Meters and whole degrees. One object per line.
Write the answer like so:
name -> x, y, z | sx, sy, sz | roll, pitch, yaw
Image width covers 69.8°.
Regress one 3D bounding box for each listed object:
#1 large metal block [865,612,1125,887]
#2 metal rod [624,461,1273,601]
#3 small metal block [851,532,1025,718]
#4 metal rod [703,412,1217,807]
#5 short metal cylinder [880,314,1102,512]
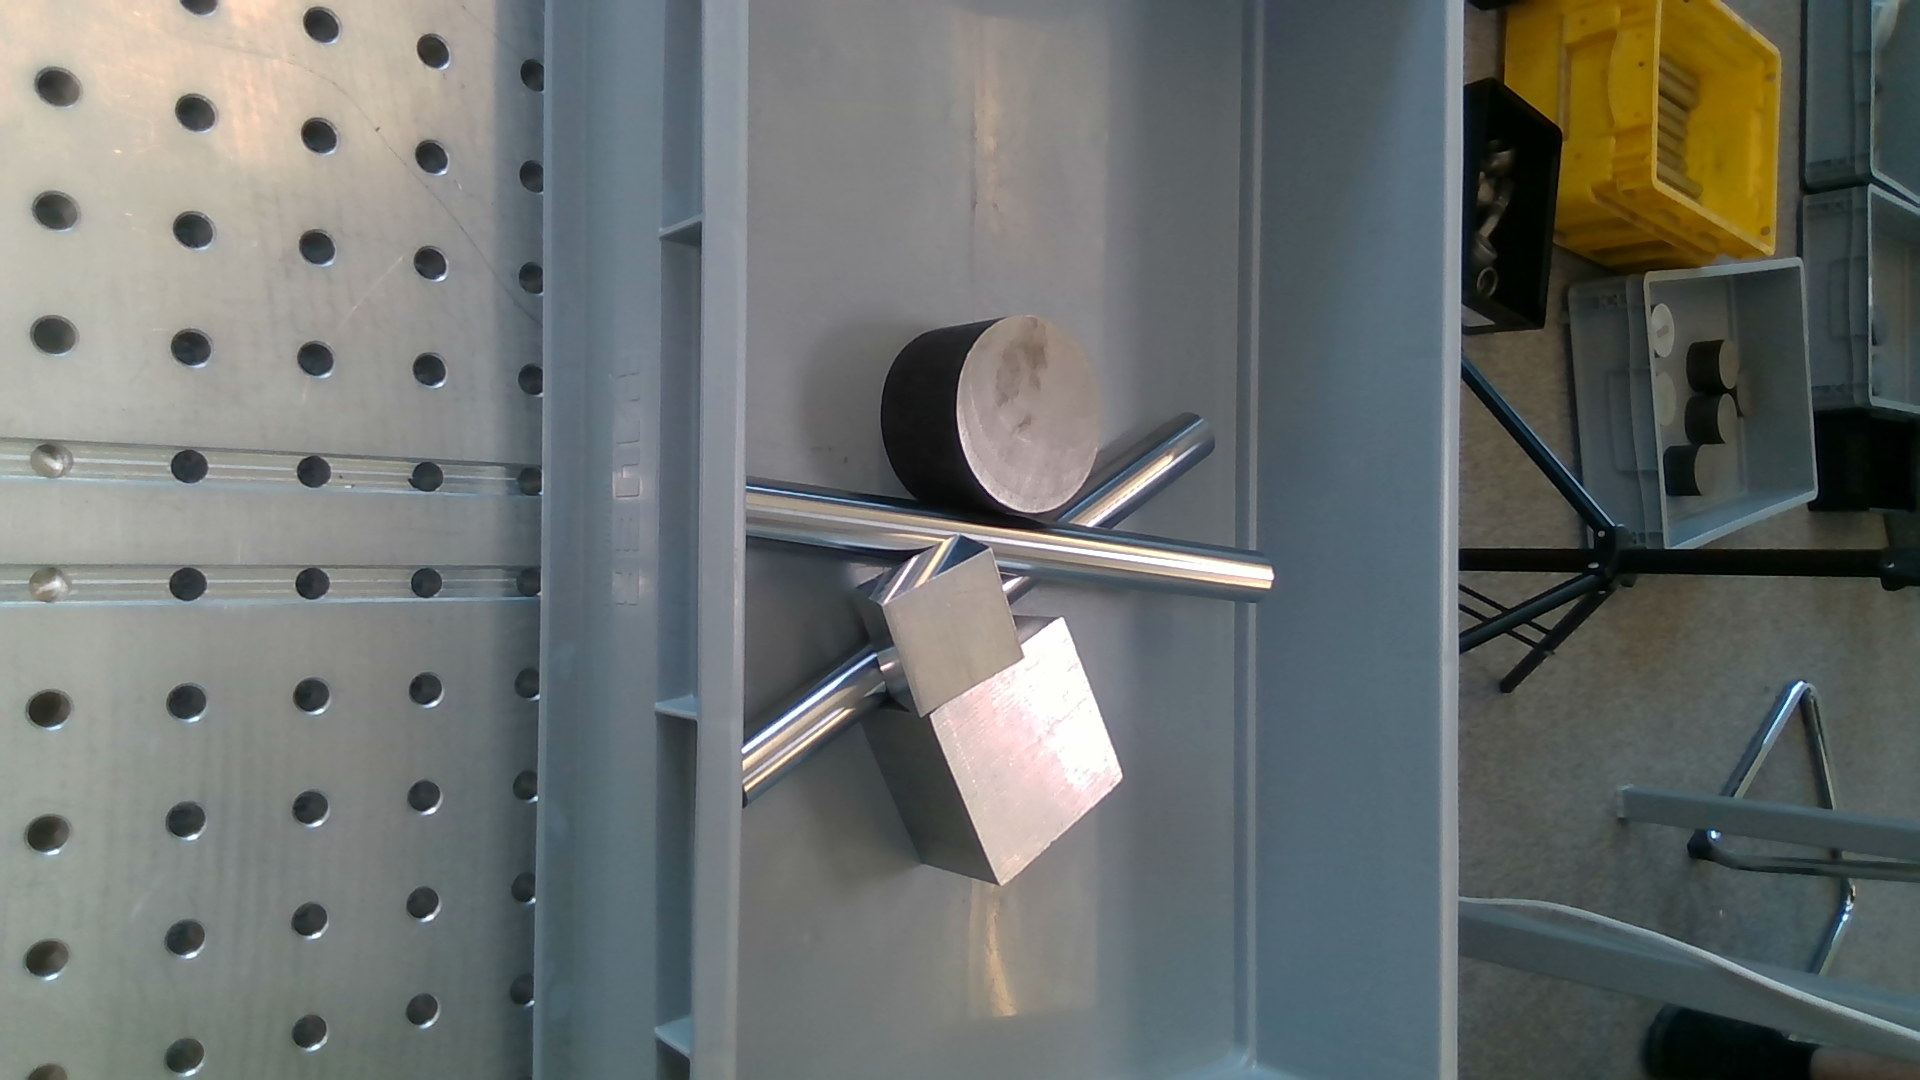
large metal block -> 0.014, 0.084, 0.577 | 0.080, 0.050, 0.080 | -34, 111, -35
metal rod -> 0.012, 0.000, 0.566 | 0.300, 0.025, 0.025 | 7, 85, -32
small metal block -> -0.008, 0.032, 0.534 | 0.050, 0.025, 0.050 | -27, 116, -21
metal rod -> 0.015, 0.018, 0.594 | 0.300, 0.025, 0.025 | -35, 112, -34
short metal cylinder -> 0.014, -0.052, 0.577 | 0.080, 0.050, 0.080 | -1, 91, -40
